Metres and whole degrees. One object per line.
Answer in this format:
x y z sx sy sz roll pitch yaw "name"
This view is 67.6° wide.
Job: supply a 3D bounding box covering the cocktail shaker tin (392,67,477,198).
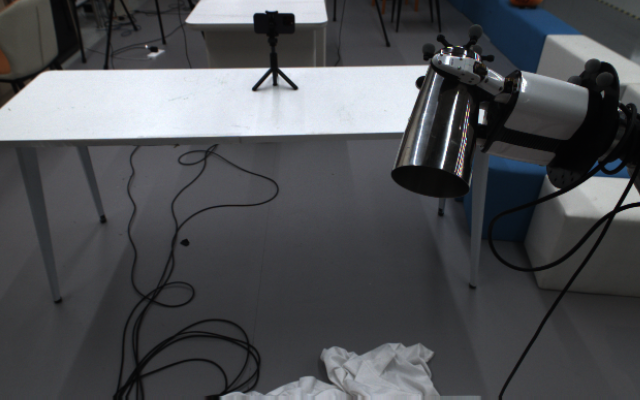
0.154 -0.101 0.595 0.093 0.093 0.170 12 72 14 "cocktail shaker tin"
